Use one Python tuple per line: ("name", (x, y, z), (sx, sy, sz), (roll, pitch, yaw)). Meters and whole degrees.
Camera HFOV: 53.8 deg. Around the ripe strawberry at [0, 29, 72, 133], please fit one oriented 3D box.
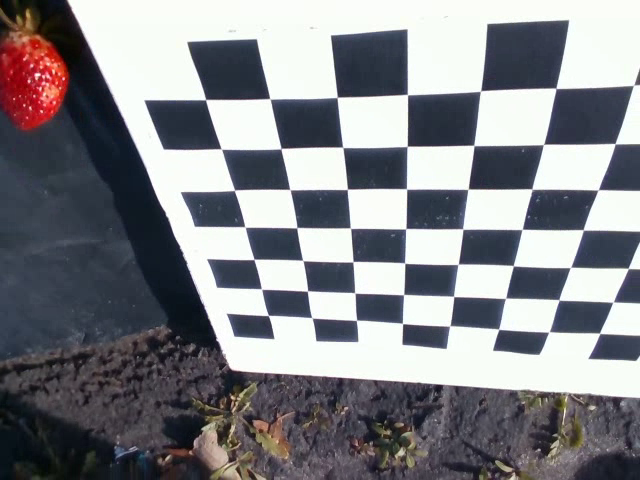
("ripe strawberry", (-0.096, -0.052, 0.209), (0.035, 0.038, 0.033), (1, -2, 10))
